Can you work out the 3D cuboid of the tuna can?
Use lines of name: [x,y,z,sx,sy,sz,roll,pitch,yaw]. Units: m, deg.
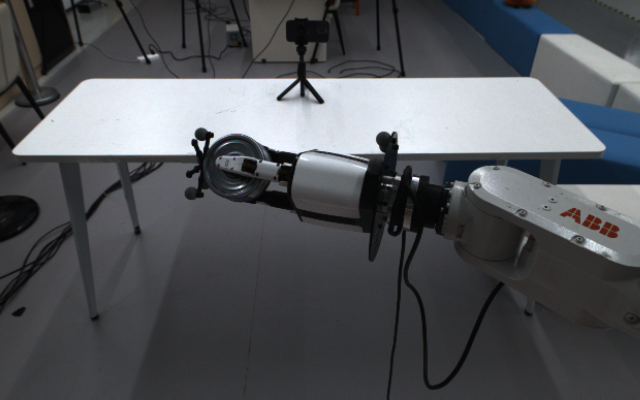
tuna can: [-0.105,-0.042,0.627,0.085,0.085,0.034,10,-6,11]
